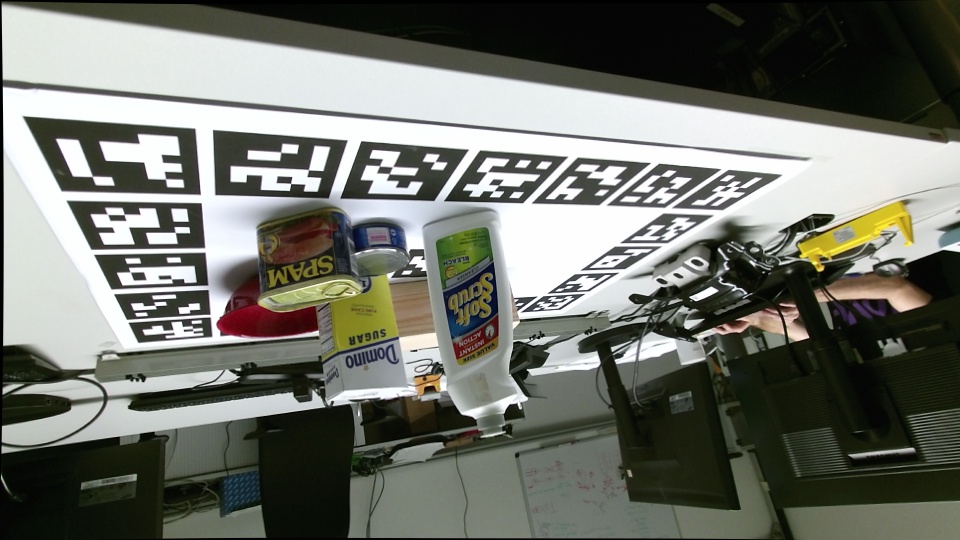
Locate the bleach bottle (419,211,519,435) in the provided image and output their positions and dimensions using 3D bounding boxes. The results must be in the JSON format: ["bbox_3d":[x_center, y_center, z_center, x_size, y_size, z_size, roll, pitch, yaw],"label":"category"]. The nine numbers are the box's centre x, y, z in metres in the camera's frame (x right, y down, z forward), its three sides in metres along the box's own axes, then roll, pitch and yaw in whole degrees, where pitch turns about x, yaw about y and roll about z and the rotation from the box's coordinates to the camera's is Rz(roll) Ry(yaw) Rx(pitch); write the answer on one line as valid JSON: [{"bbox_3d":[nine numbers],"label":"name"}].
[{"bbox_3d":[-0.002,0.060,0.623,0.103,0.249,0.068,-13,160,-2],"label":"bleach bottle"}]

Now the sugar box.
[{"bbox_3d":[-0.152,0.070,0.652,0.093,0.175,0.045,4,151,-47],"label":"sugar box"}]

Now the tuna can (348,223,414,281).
[{"bbox_3d":[-0.124,-0.020,0.636,0.086,0.033,0.086,-13,157,-6],"label":"tuna can"}]

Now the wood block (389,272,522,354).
[{"bbox_3d":[-0.050,0.071,0.853,0.207,0.089,0.091,-6,154,-17],"label":"wood block"}]

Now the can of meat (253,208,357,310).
[{"bbox_3d":[-0.187,-0.011,0.572,0.102,0.083,0.058,-13,162,3],"label":"can of meat"}]

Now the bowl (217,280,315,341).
[{"bbox_3d":[-0.269,0.050,0.708,0.162,0.055,0.162,-15,161,-5],"label":"bowl"}]
